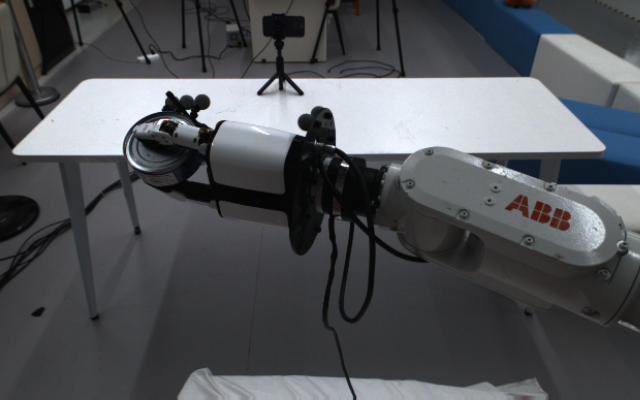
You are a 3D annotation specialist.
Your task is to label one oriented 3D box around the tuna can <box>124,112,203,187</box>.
[{"bbox_3d":[-0.179,-0.059,0.563,0.085,0.034,0.085,-2,59,3],"label":"tuna can"}]
